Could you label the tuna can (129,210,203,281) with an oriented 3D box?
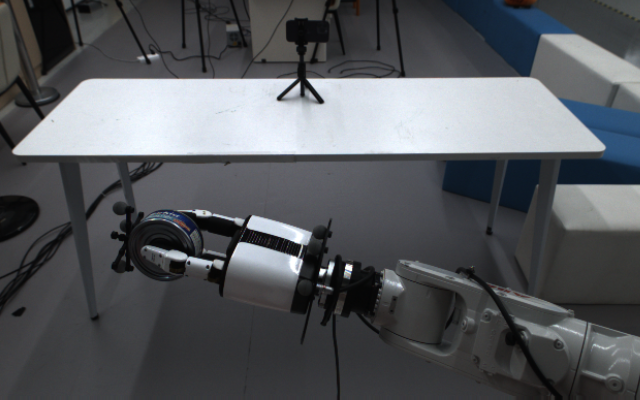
[{"bbox_3d":[-0.188,0.061,0.595,0.085,0.085,0.034,4,19,3],"label":"tuna can"}]
